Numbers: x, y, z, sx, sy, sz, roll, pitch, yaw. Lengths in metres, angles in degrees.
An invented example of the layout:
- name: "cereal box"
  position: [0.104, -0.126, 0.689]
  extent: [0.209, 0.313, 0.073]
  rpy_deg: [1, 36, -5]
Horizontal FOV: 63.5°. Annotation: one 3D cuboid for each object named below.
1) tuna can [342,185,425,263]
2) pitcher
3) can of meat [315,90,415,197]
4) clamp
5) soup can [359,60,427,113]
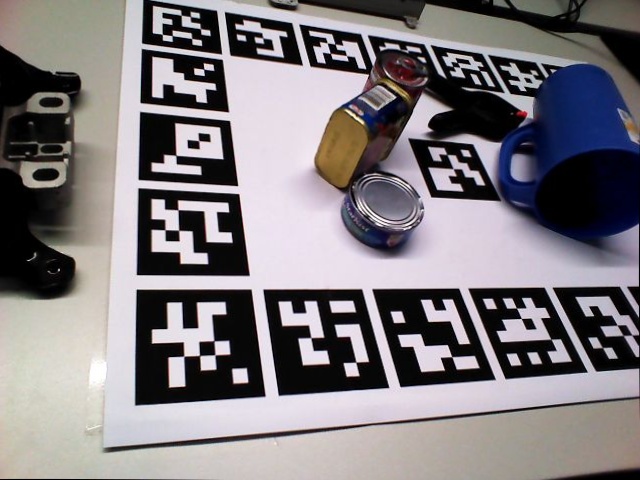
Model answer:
- name: "tuna can"
  position: [0.069, -0.017, 0.569]
  extent: [0.086, 0.034, 0.085]
  rpy_deg: [9, 54, -13]
- name: "pitcher"
  position: [0.348, -0.120, 0.676]
  extent: [0.189, 0.134, 0.241]
  rpy_deg: [4, 43, 11]
- name: "can of meat"
  position: [0.047, -0.105, 0.579]
  extent: [0.058, 0.102, 0.083]
  rpy_deg: [45, 57, 14]
- name: "clamp"
  position: [0.206, -0.178, 0.748]
  extent: [0.165, 0.037, 0.121]
  rpy_deg: [5, 49, -20]
- name: "soup can"
  position: [0.079, -0.157, 0.635]
  extent: [0.068, 0.102, 0.067]
  rpy_deg: [8, 55, -11]
